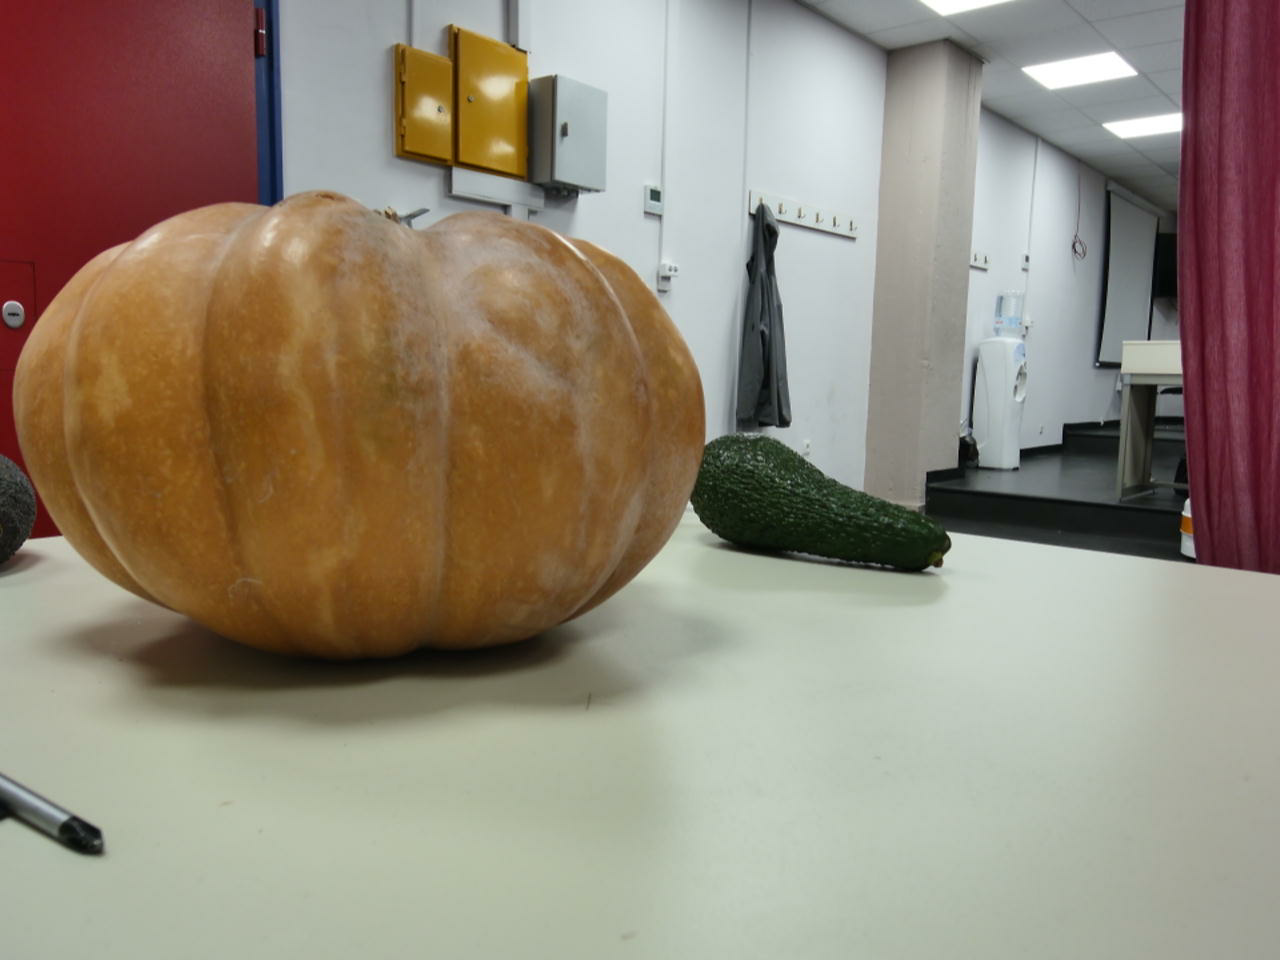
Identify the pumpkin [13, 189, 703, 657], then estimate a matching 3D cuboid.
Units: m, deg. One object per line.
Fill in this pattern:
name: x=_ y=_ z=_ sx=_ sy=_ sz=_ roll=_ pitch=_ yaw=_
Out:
pumpkin: x=-0.112 y=-0.023 z=0.429 sx=0.277 sy=0.181 sz=0.277 roll=0 pitch=4 yaw=0
